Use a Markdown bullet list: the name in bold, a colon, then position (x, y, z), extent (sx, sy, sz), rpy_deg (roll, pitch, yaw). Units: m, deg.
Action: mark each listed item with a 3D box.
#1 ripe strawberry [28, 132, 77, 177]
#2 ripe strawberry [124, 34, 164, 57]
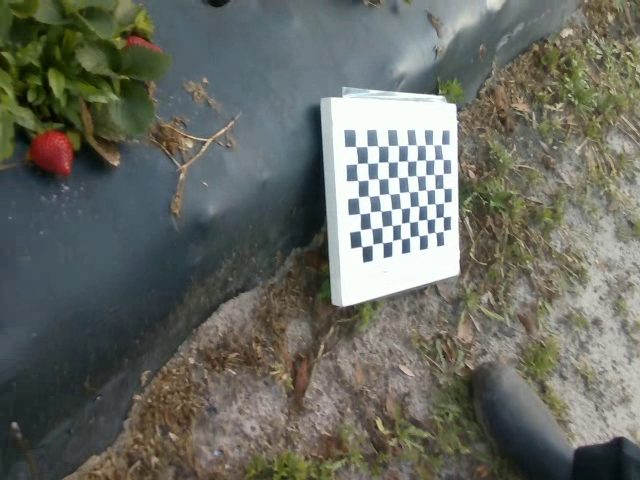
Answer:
- **ripe strawberry**: position (-0.248, -0.082, 0.617), extent (0.043, 0.051, 0.042), rpy_deg (-30, -6, -40)
- **ripe strawberry**: position (-0.185, -0.204, 0.704), extent (0.046, 0.043, 0.046), rpy_deg (-8, 5, -15)
